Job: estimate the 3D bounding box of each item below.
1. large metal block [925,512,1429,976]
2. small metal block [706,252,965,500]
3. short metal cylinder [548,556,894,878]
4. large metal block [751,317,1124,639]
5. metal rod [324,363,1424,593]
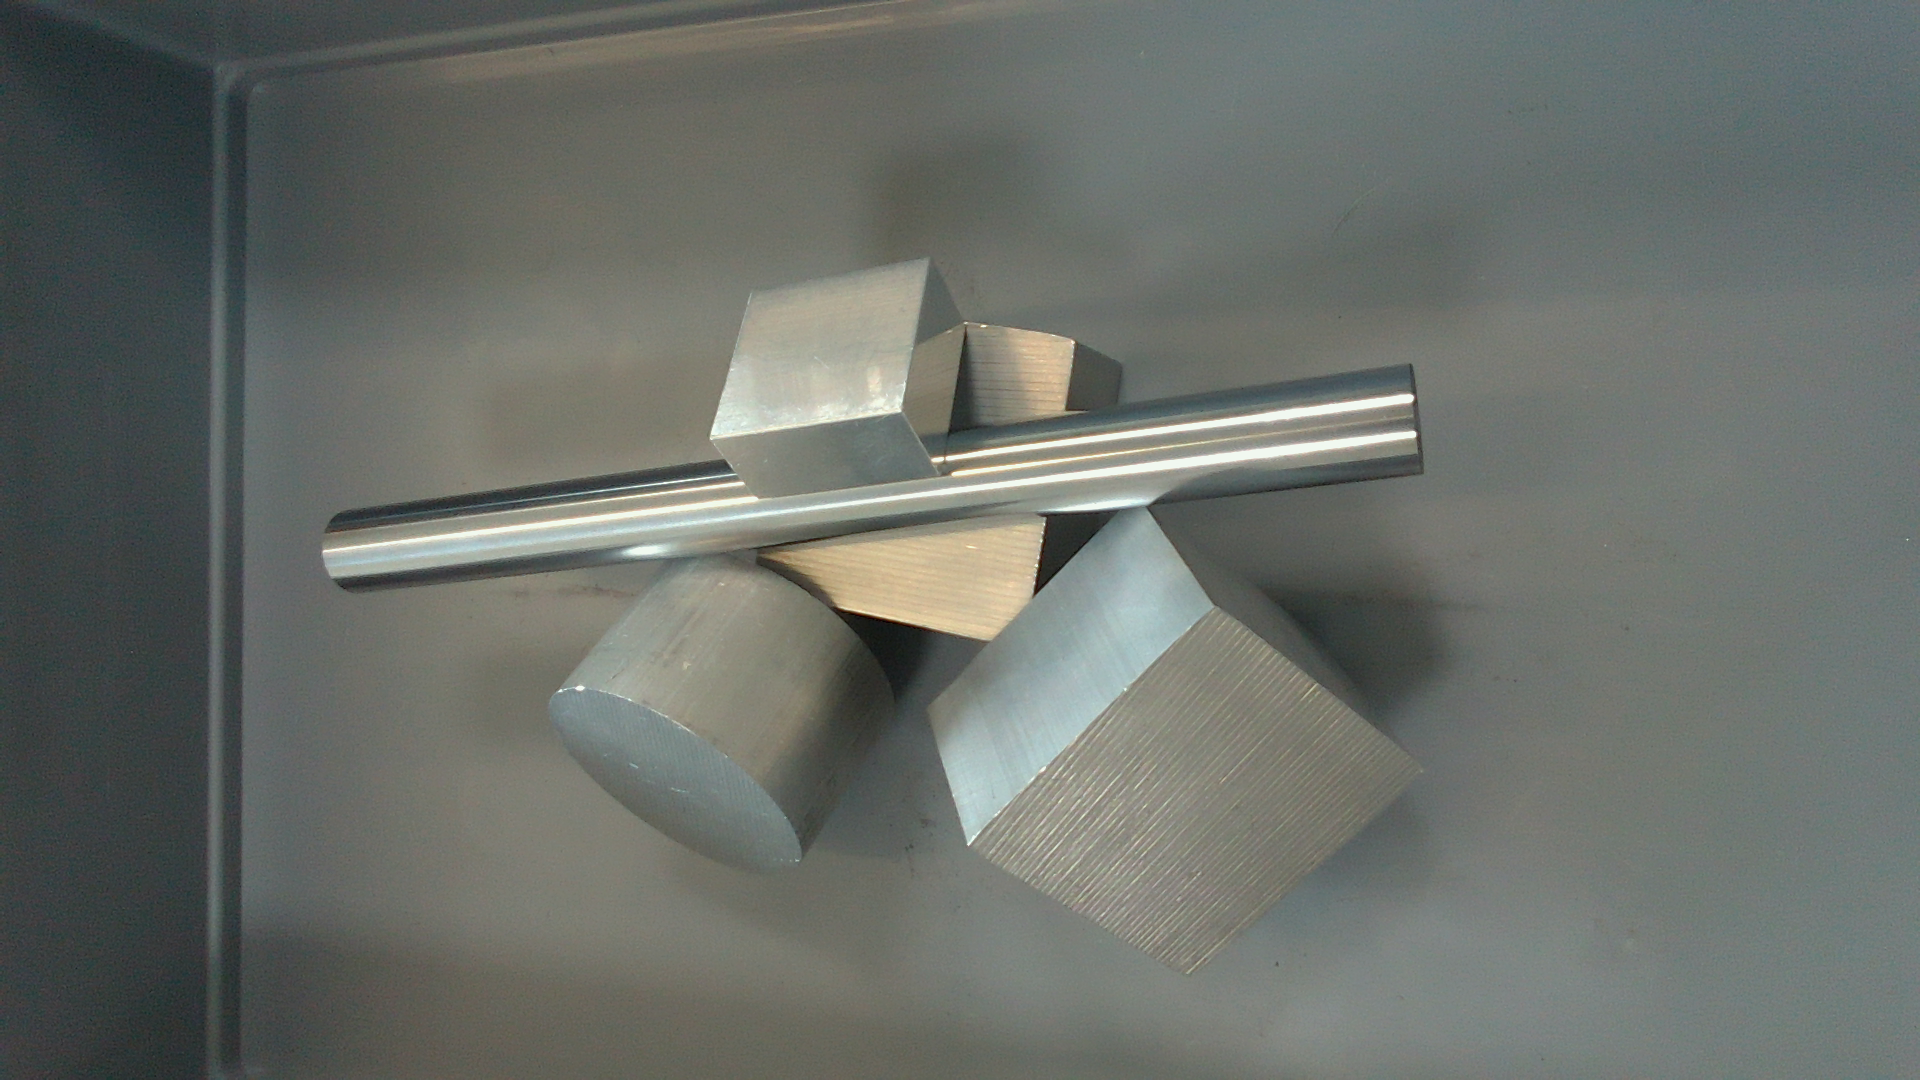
[{"bbox_3d":[0.052,0.049,0.340,0.080,0.050,0.080,35,106,-28],"label":"large metal block"},{"bbox_3d":[-0.029,-0.040,0.339,0.050,0.025,0.050,-6,53,20],"label":"small metal block"},{"bbox_3d":[-0.066,0.049,0.383,0.080,0.080,0.050,21,54,19],"label":"short metal cylinder"},{"bbox_3d":[-0.006,-0.020,0.383,0.080,0.050,0.080,11,94,20],"label":"large metal block"},{"bbox_3d":[-0.038,-0.012,0.355,0.299,0.025,0.025,-6,88,20],"label":"metal rod"}]
